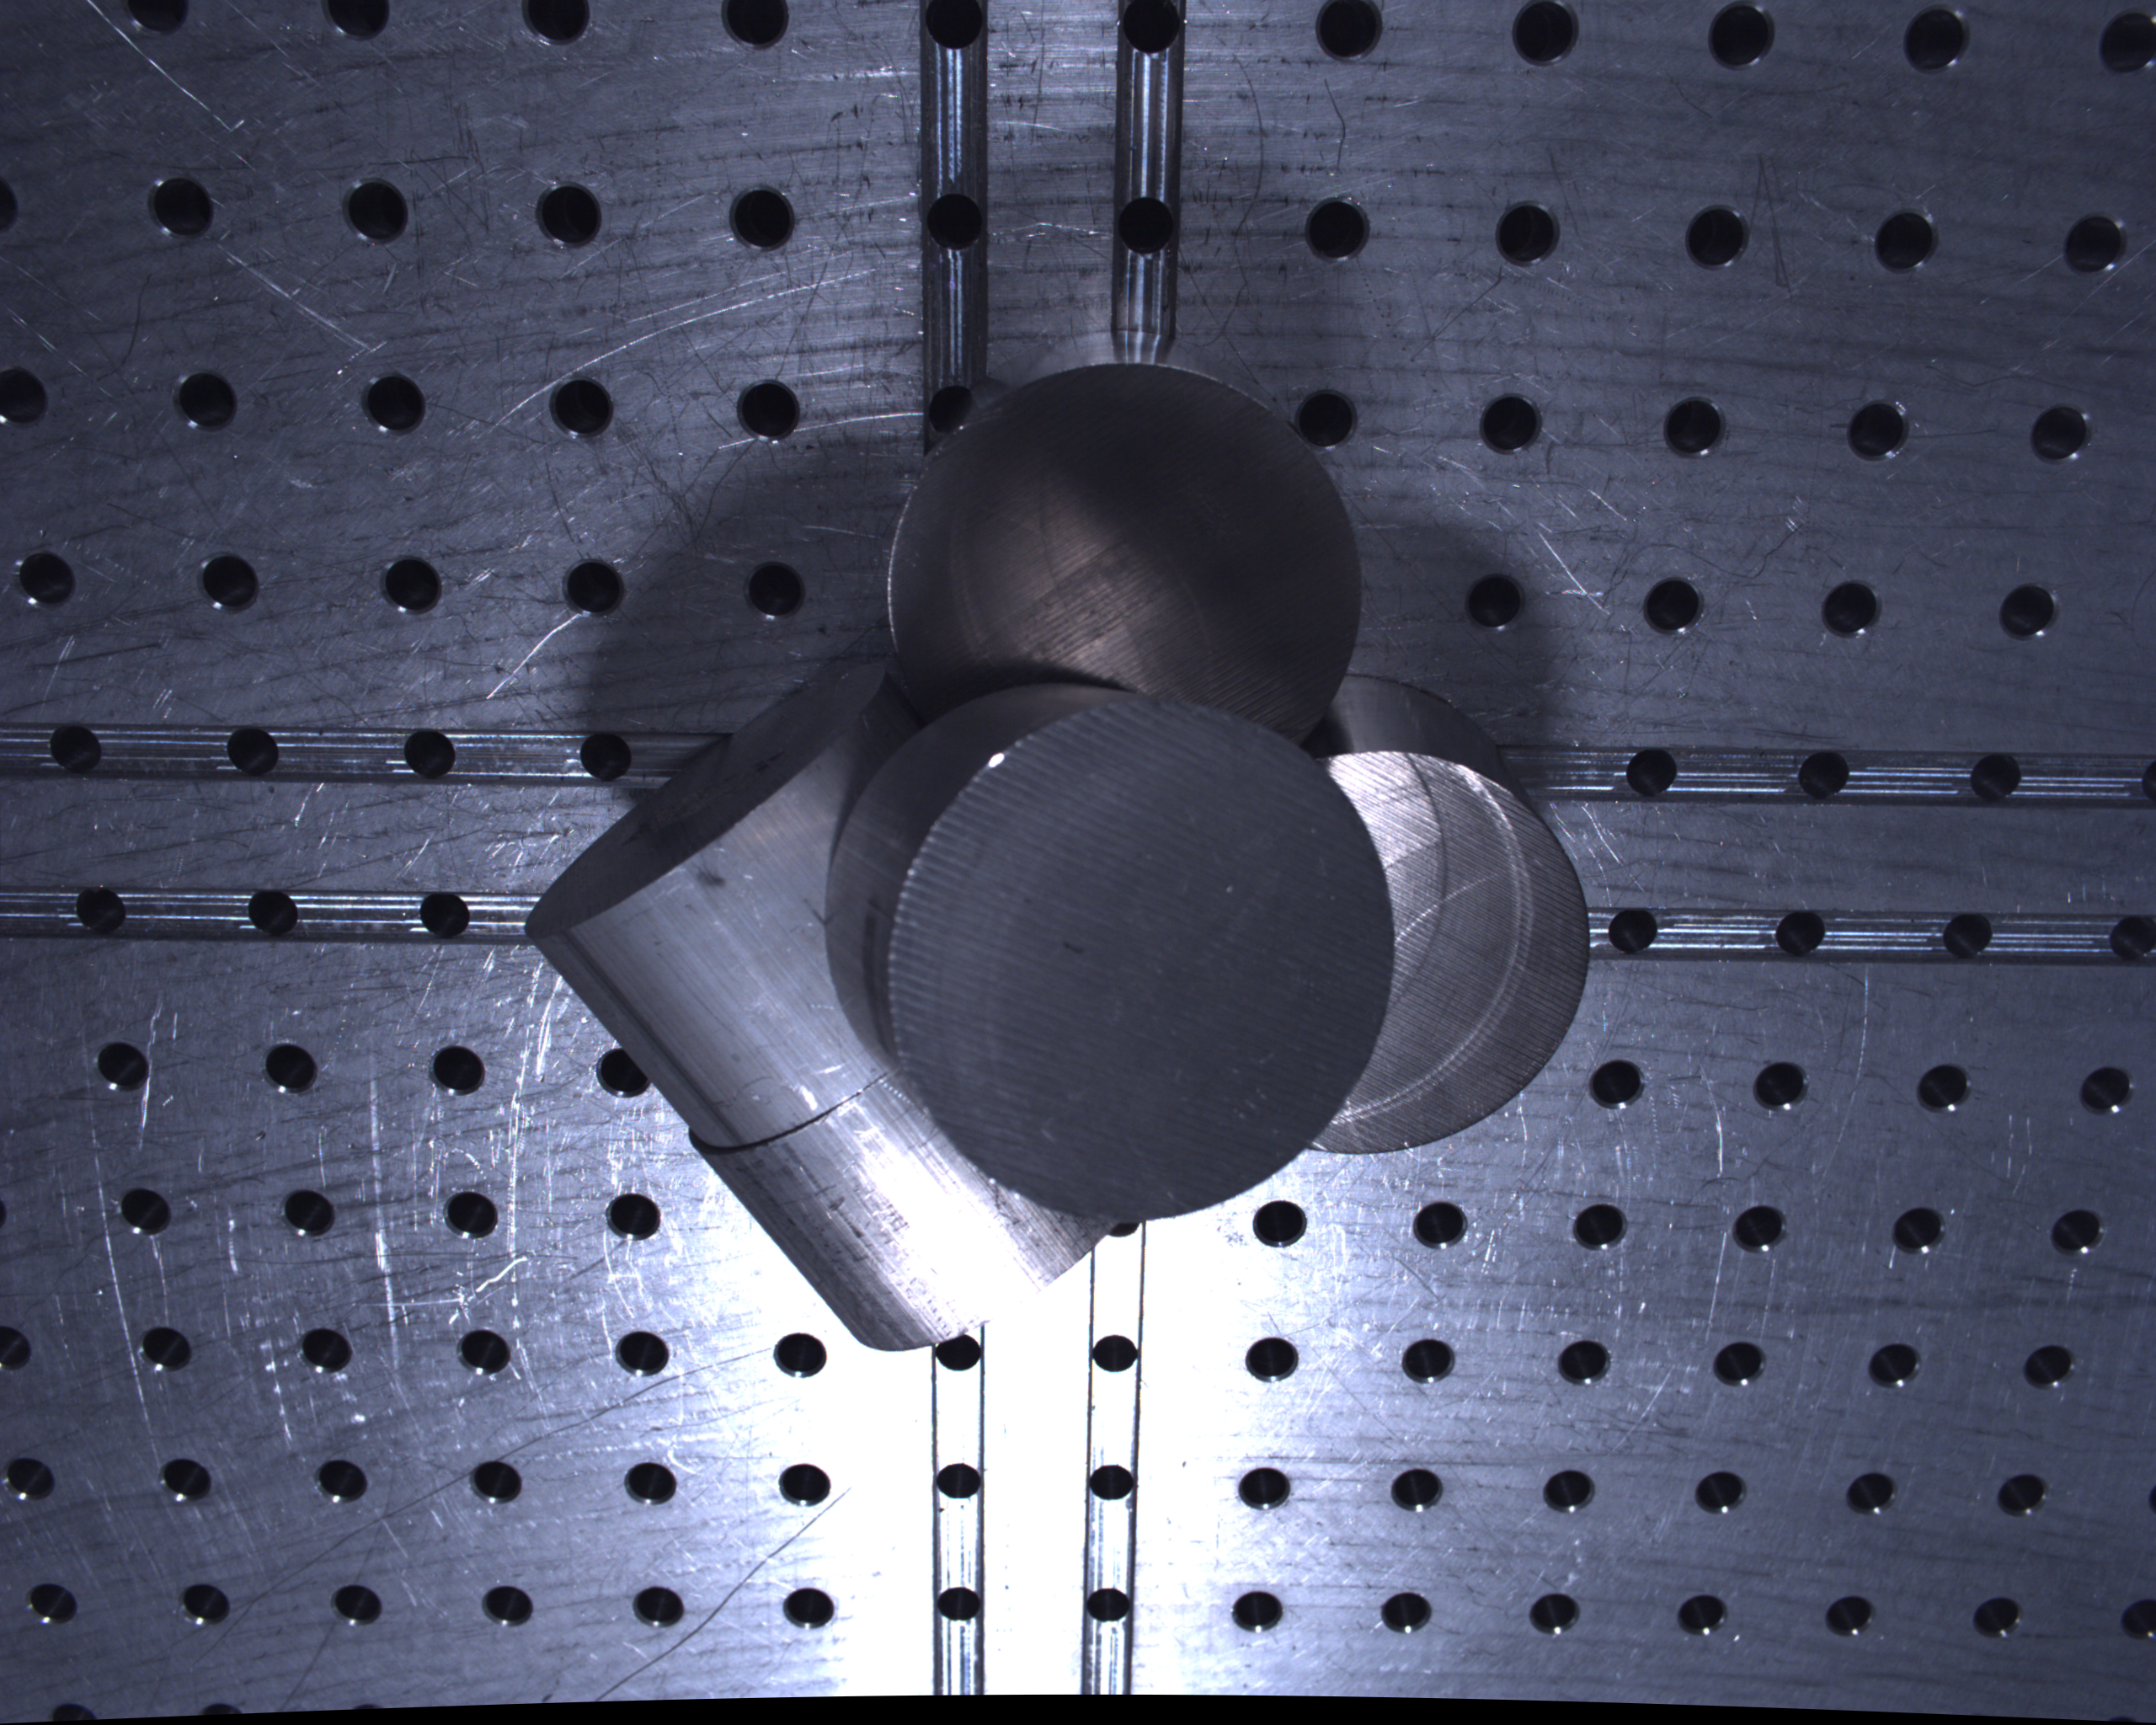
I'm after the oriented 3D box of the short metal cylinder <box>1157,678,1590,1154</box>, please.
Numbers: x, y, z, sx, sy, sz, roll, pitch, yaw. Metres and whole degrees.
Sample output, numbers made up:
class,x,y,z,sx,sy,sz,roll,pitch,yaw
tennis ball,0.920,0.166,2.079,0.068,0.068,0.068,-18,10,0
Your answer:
class,x,y,z,sx,sy,sz,roll,pitch,yaw
short metal cylinder,0.053,0.009,0.403,0.081,0.050,0.079,0,110,-1

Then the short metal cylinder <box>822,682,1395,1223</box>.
class,x,y,z,sx,sy,sz,roll,pitch,yaw
short metal cylinder,0.003,0.012,0.336,0.081,0.050,0.079,-3,98,-18

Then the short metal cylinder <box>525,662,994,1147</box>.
class,x,y,z,sx,sy,sz,roll,pitch,yaw
short metal cylinder,-0.053,0.007,0.386,0.080,0.080,0.050,-32,107,11

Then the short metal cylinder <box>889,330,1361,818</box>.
class,x,y,z,sx,sy,sz,roll,pitch,yaw
short metal cylinder,0.008,-0.054,0.379,0.081,0.050,0.079,0,110,-1

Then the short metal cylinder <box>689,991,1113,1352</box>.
class,x,y,z,sx,sy,sz,roll,pitch,yaw
short metal cylinder,-0.027,0.047,0.401,0.080,0.080,0.050,-32,107,11
